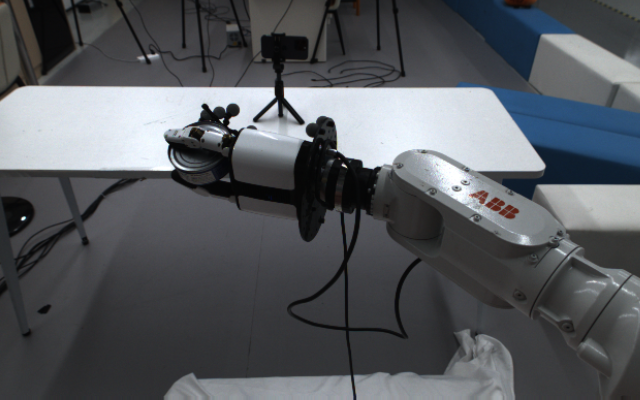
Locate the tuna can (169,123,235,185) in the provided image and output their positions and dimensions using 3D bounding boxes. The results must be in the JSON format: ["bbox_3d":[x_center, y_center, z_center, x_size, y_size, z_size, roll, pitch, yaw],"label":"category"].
[{"bbox_3d":[-0.157,-0.064,0.651,0.085,0.034,0.085,-4,56,6],"label":"tuna can"}]
